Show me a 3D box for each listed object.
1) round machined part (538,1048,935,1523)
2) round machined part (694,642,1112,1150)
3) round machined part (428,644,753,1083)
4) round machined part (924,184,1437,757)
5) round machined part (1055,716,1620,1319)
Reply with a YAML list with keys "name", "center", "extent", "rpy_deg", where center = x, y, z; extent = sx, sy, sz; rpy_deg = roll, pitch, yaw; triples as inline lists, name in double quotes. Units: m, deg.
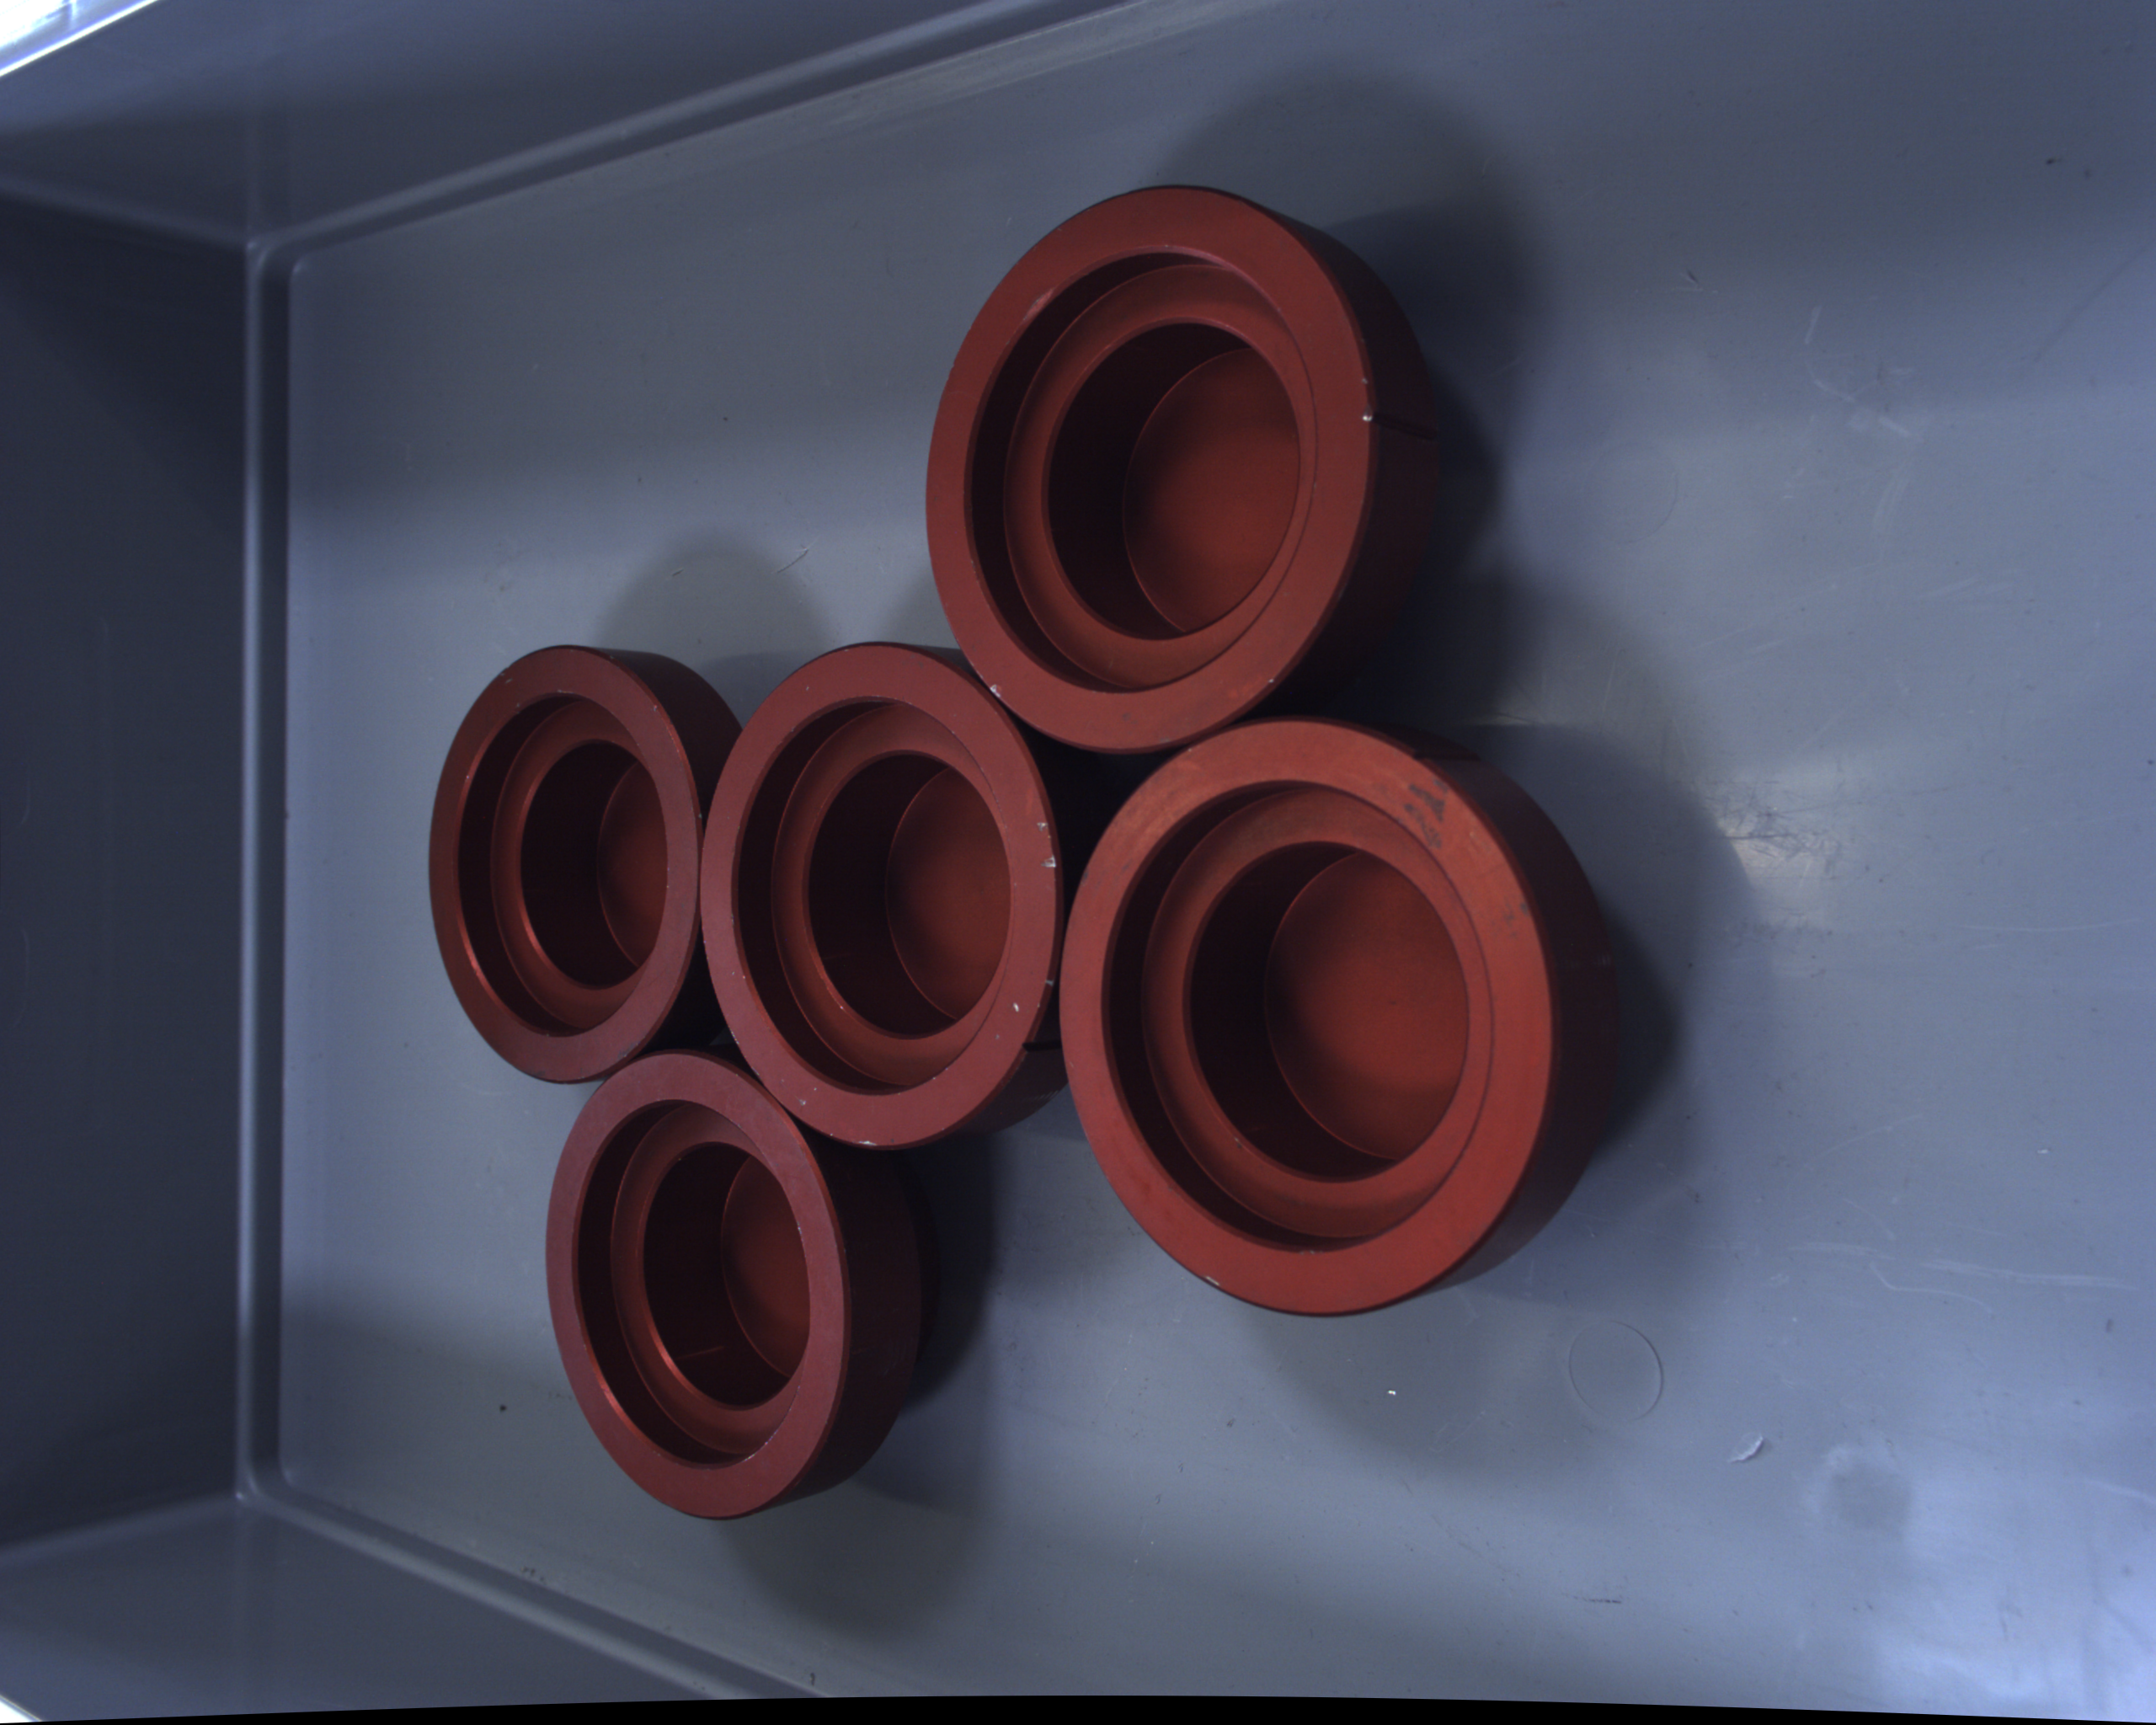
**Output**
- name: "round machined part"
  center: [-0.070, 0.088, 0.449]
  extent: [0.098, 0.042, 0.097]
  rpy_deg: [0, 90, 40]
- name: "round machined part"
  center: [-0.029, 0.006, 0.415]
  extent: [0.098, 0.042, 0.097]
  rpy_deg: [0, 90, 40]
- name: "round machined part"
  center: [-0.103, 0.000, 0.478]
  extent: [0.098, 0.042, 0.097]
  rpy_deg: [0, 90, 40]
- name: "round machined part"
  center: [0.022, -0.067, 0.375]
  extent: [0.098, 0.042, 0.097]
  rpy_deg: [0, 90, 40]
- name: "round machined part"
  center: [0.047, 0.025, 0.354]
  extent: [0.098, 0.042, 0.097]
  rpy_deg: [0, 90, 40]
